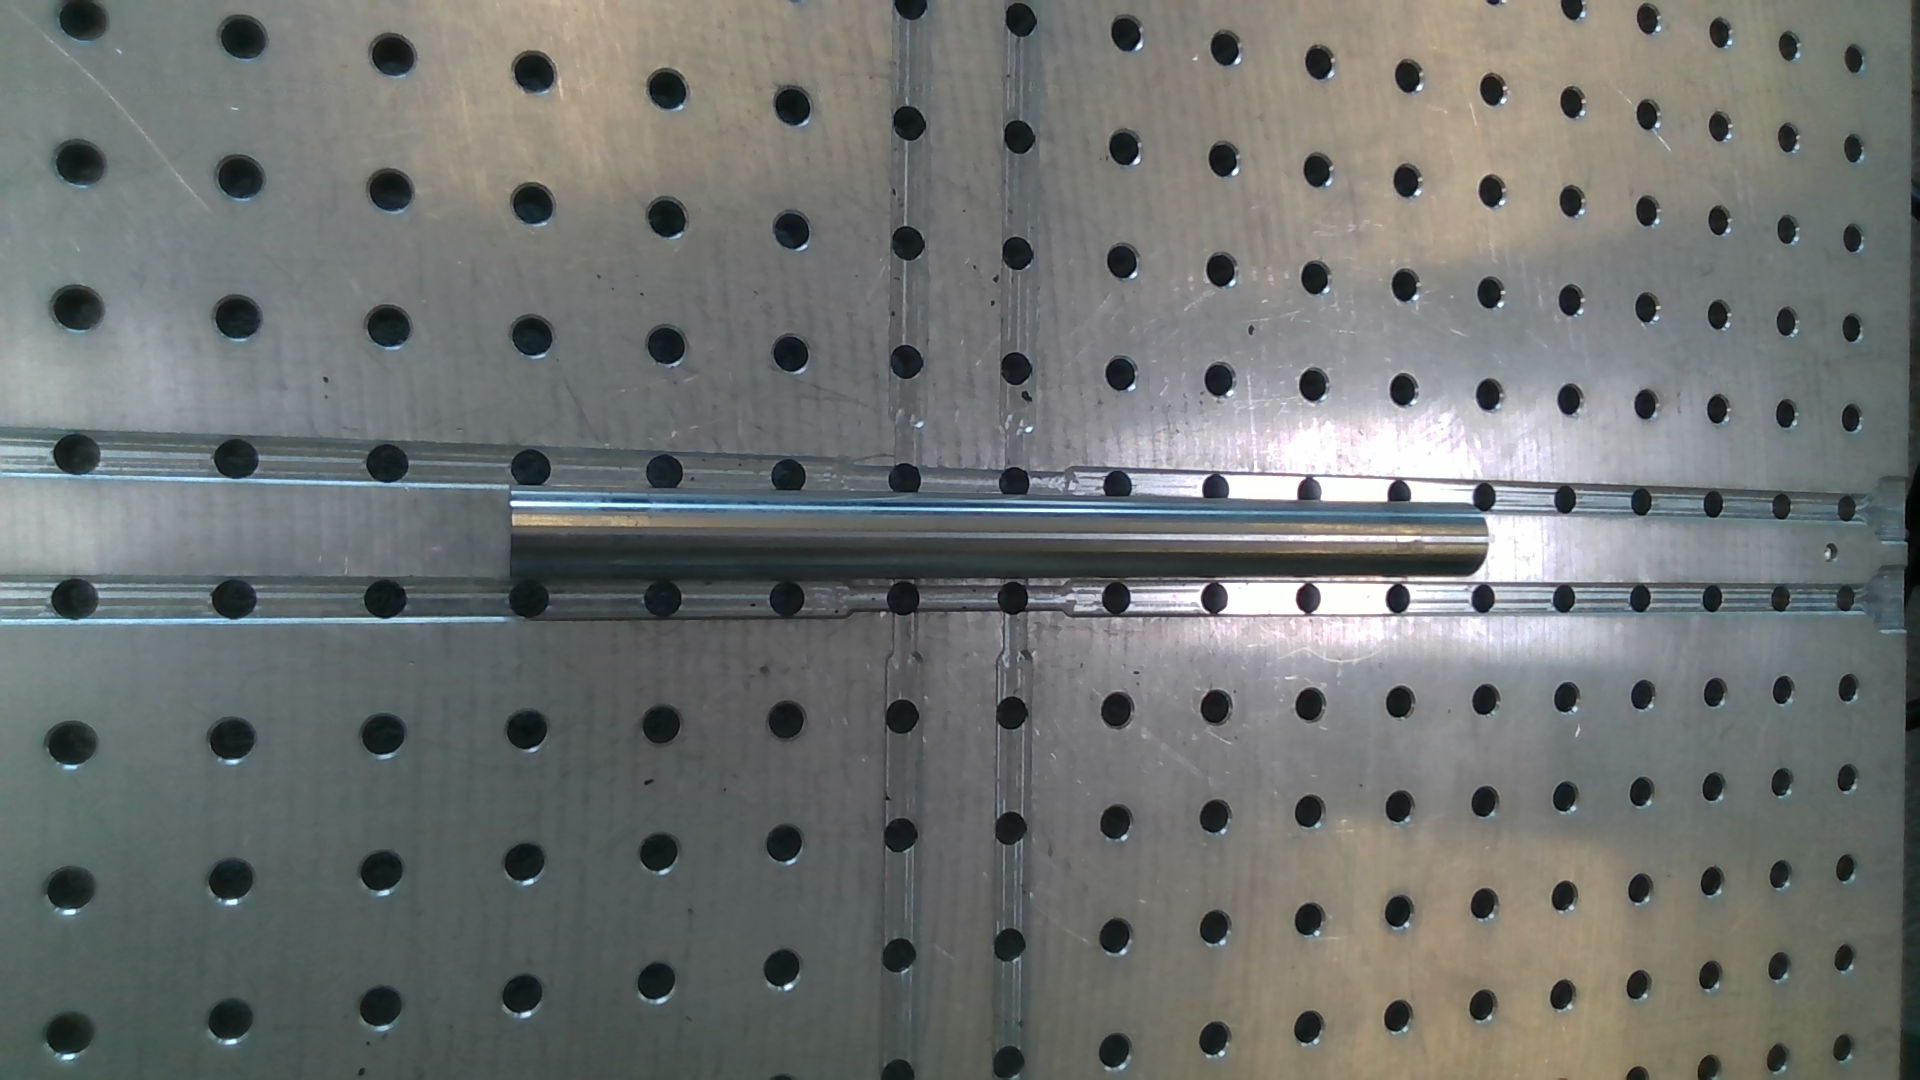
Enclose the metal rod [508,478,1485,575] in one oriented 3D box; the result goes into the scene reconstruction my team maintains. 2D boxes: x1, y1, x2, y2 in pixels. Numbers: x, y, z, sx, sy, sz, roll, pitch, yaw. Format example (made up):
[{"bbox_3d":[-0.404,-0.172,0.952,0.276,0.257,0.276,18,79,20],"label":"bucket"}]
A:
[{"bbox_3d":[0.025,-0.002,0.406,0.300,0.025,0.025,0,90,-20],"label":"metal rod"}]
